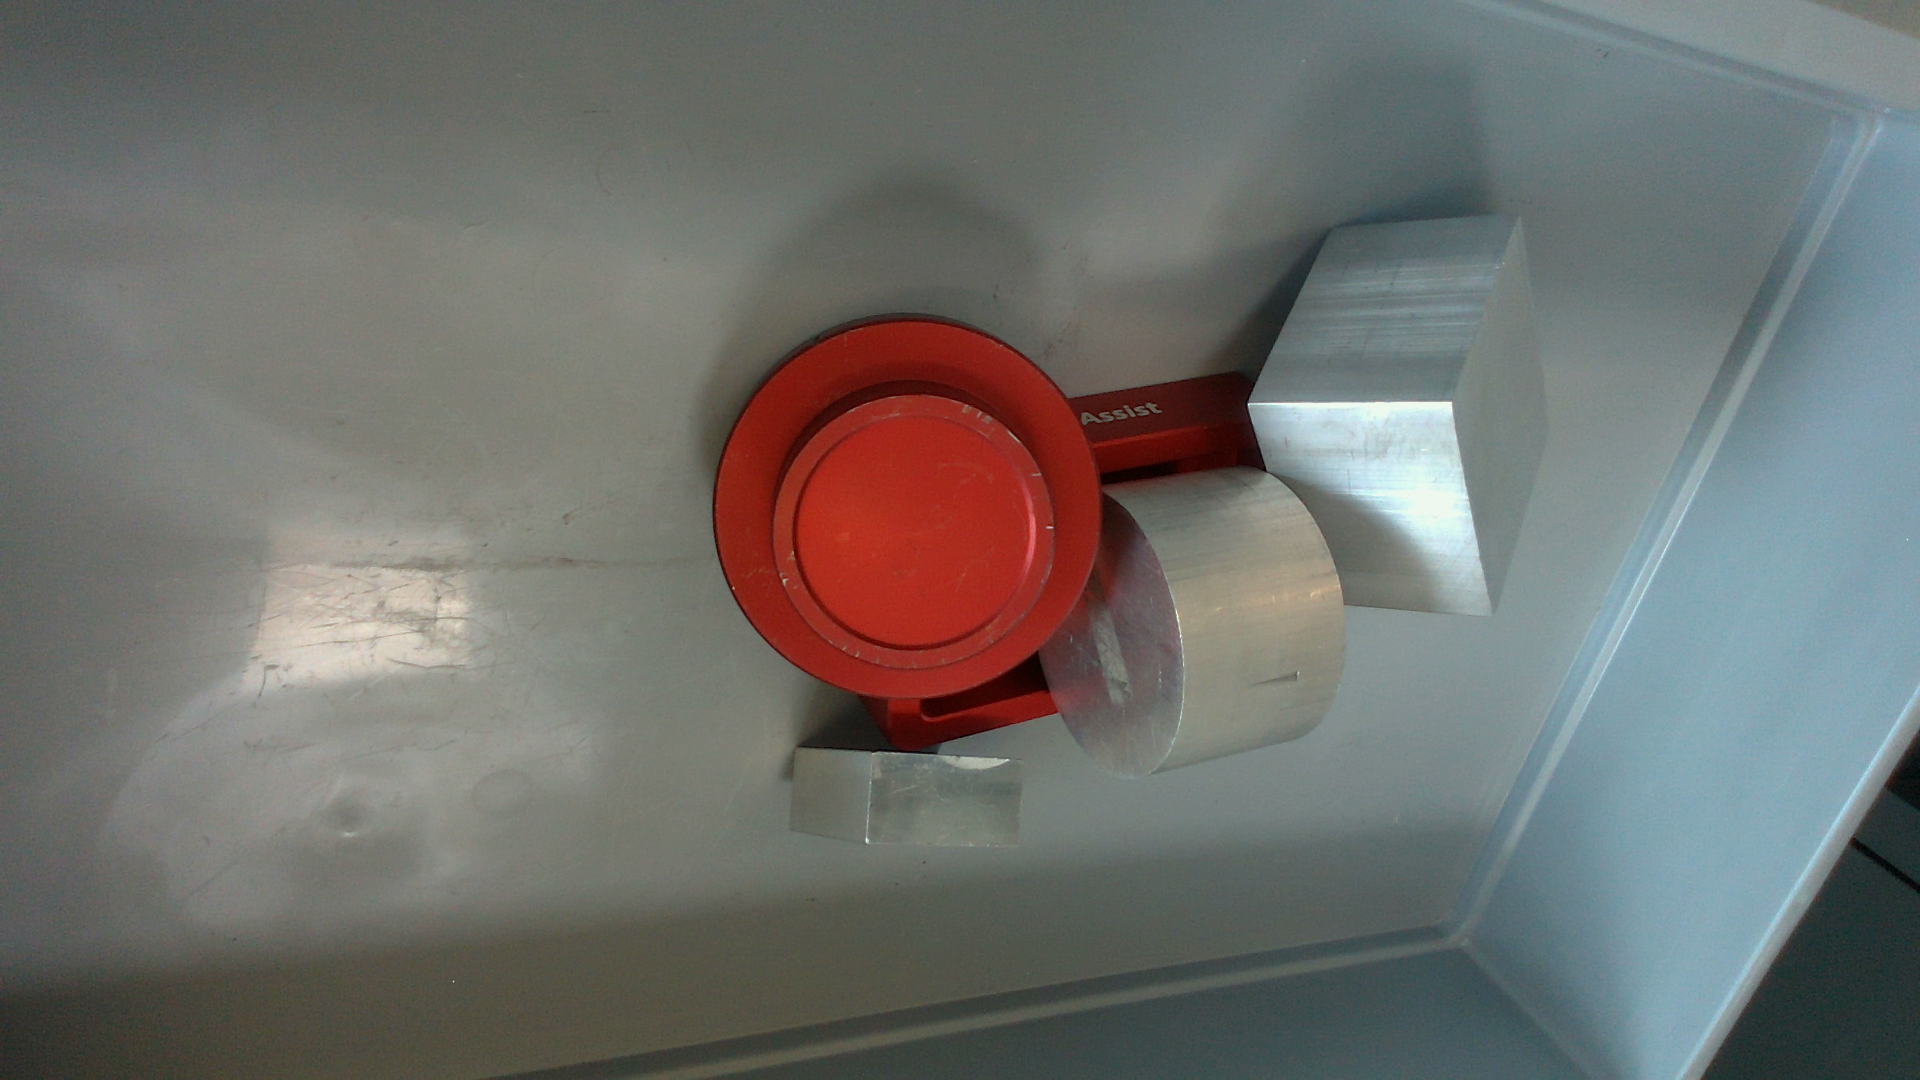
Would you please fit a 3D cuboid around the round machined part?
[{"bbox_3d":[-0.013,-0.006,0.342,0.098,0.042,0.098,-1,102,-5],"label":"round machined part"}]

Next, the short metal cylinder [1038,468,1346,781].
[{"bbox_3d":[0.061,0.022,0.382,0.050,0.080,0.080,-9,122,-24],"label":"short metal cylinder"}]

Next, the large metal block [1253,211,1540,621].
[{"bbox_3d":[0.129,-0.035,0.394,0.080,0.050,0.080,-60,139,-33],"label":"large metal block"}]

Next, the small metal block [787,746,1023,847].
[{"bbox_3d":[-0.017,0.075,0.406,0.050,0.050,0.025,8,80,-31],"label":"small metal block"}]

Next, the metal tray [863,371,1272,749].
[{"bbox_3d":[0.033,0.004,0.407,0.130,0.030,0.090,-11,123,-23],"label":"metal tray"}]
